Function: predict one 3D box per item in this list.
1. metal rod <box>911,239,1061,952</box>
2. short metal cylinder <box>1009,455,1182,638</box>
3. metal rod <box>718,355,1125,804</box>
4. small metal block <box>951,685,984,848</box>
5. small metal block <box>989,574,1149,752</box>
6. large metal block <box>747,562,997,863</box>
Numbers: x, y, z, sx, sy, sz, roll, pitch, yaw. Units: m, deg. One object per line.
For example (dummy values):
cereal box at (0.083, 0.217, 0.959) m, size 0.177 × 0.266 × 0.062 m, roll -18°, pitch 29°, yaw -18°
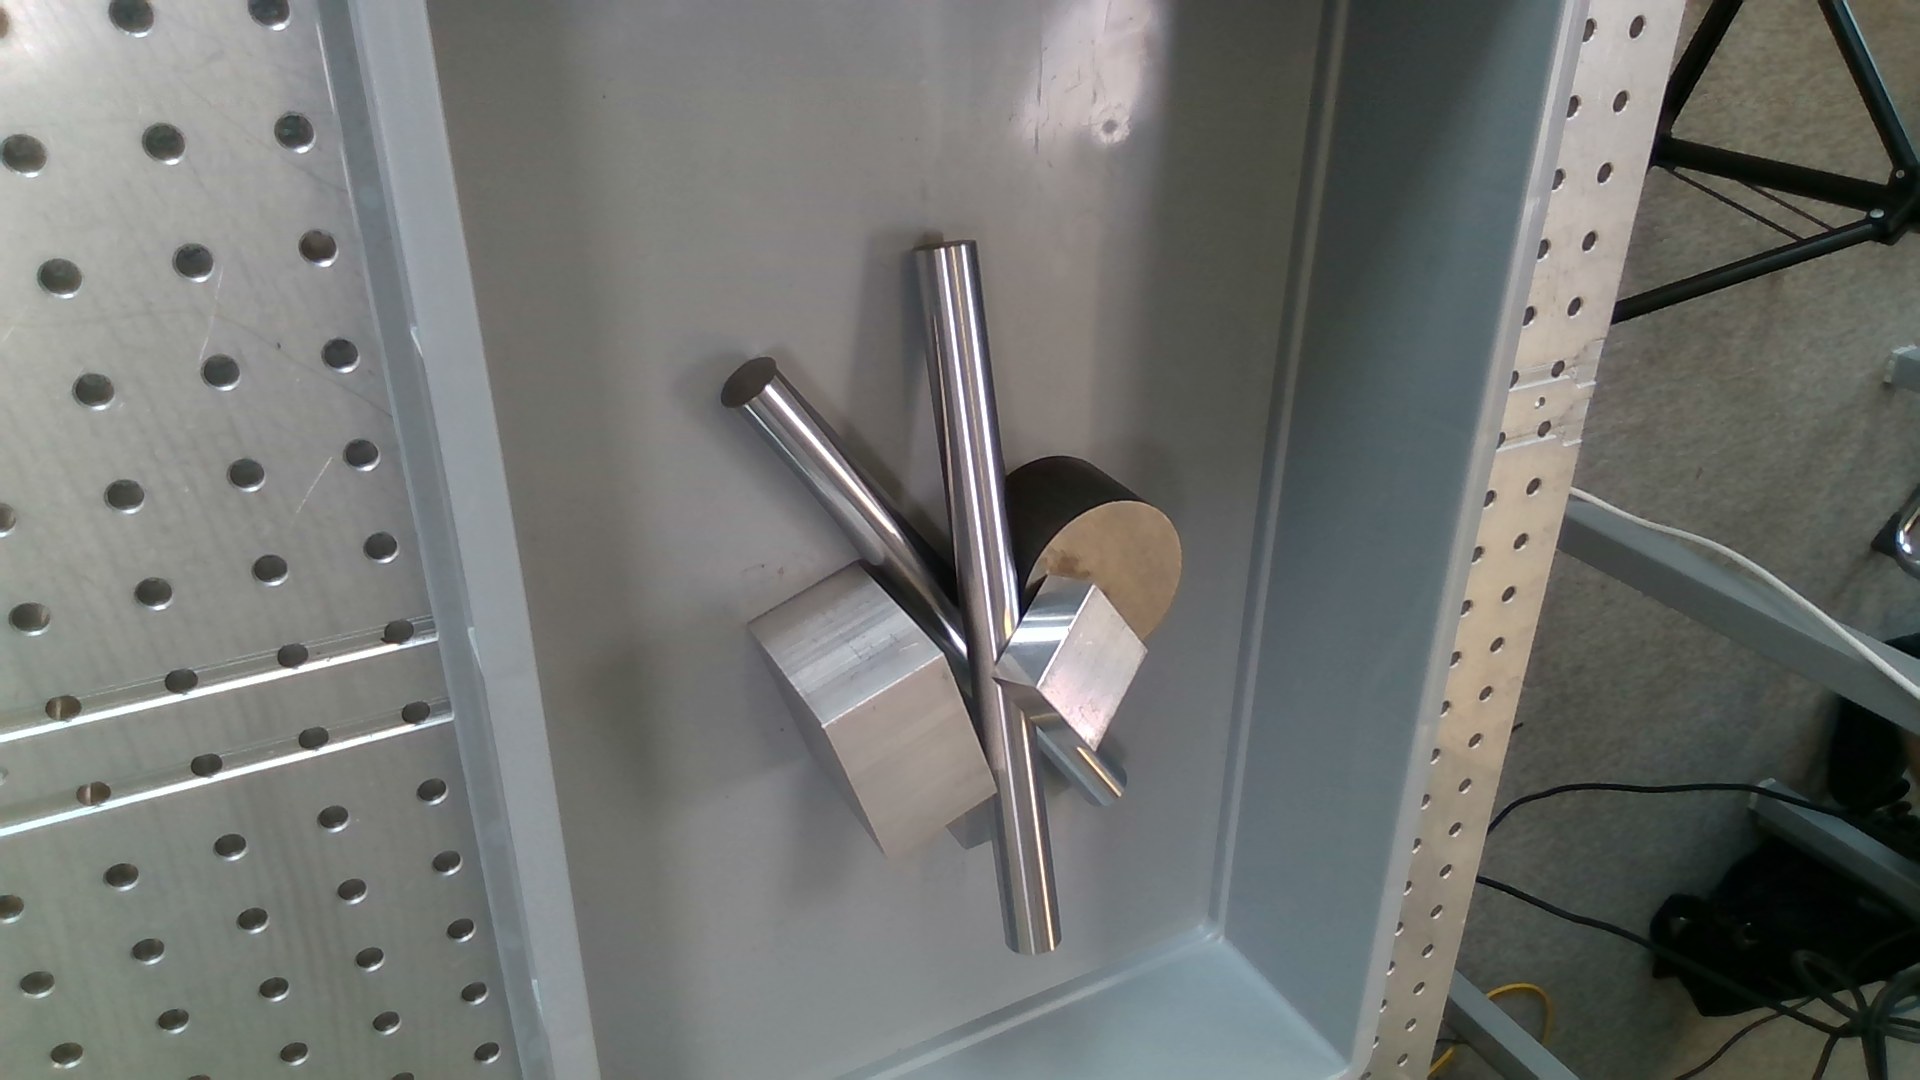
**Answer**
metal rod at (0.013, 0.031, 0.560) m, size 0.025 × 0.025 × 0.301 m, roll -16°, pitch 109°, yaw -24°
short metal cylinder at (0.049, 0.010, 0.599) m, size 0.080 × 0.050 × 0.080 m, roll -15°, pitch 122°, yaw -25°
metal rod at (-0.003, 0.032, 0.596) m, size 0.025 × 0.025 × 0.301 m, roll -43°, pitch 129°, yaw -4°
small metal block at (0.000, 0.101, 0.619) m, size 0.025 × 0.050 × 0.050 m, roll -15°, pitch 121°, yaw -25°
small metal block at (0.045, 0.050, 0.560) m, size 0.050 × 0.025 × 0.050 m, roll 49°, pitch 62°, yaw -39°
large metal block at (-0.036, 0.068, 0.558) m, size 0.050 × 0.080 × 0.080 m, roll -30°, pitch 127°, yaw -14°
